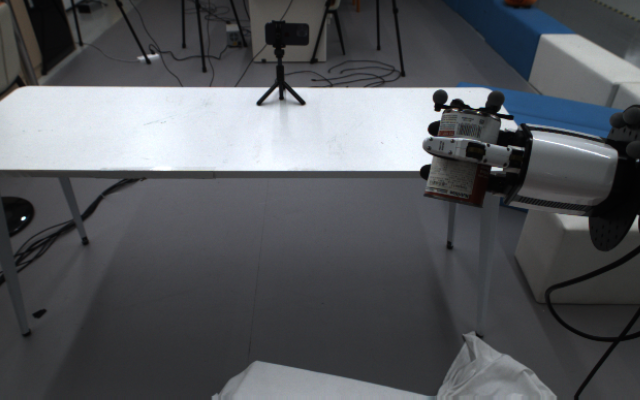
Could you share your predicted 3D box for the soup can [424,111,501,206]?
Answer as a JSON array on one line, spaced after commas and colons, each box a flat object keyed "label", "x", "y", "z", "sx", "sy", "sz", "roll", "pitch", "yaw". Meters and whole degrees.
[{"label": "soup can", "x": 0.165, "y": -0.048, "z": 0.558, "sx": 0.067, "sy": 0.101, "sz": 0.067, "roll": 12, "pitch": 2, "yaw": 0}]
